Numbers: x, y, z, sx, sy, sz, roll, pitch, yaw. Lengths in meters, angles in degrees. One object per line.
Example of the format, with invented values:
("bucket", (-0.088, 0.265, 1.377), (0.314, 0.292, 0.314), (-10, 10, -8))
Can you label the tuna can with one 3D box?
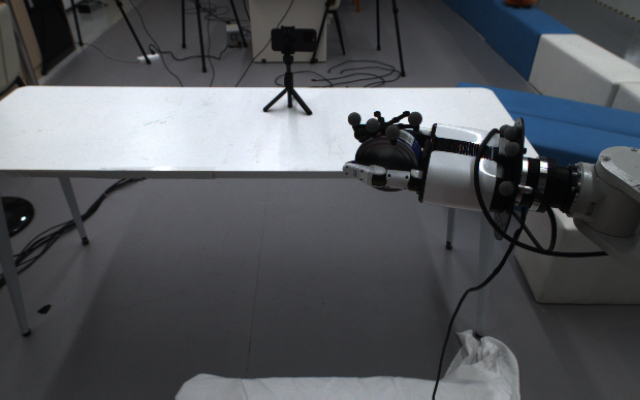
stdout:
("tuna can", (0.094, -0.057, 0.648), (0.085, 0.085, 0.034), (14, 41, 16))
